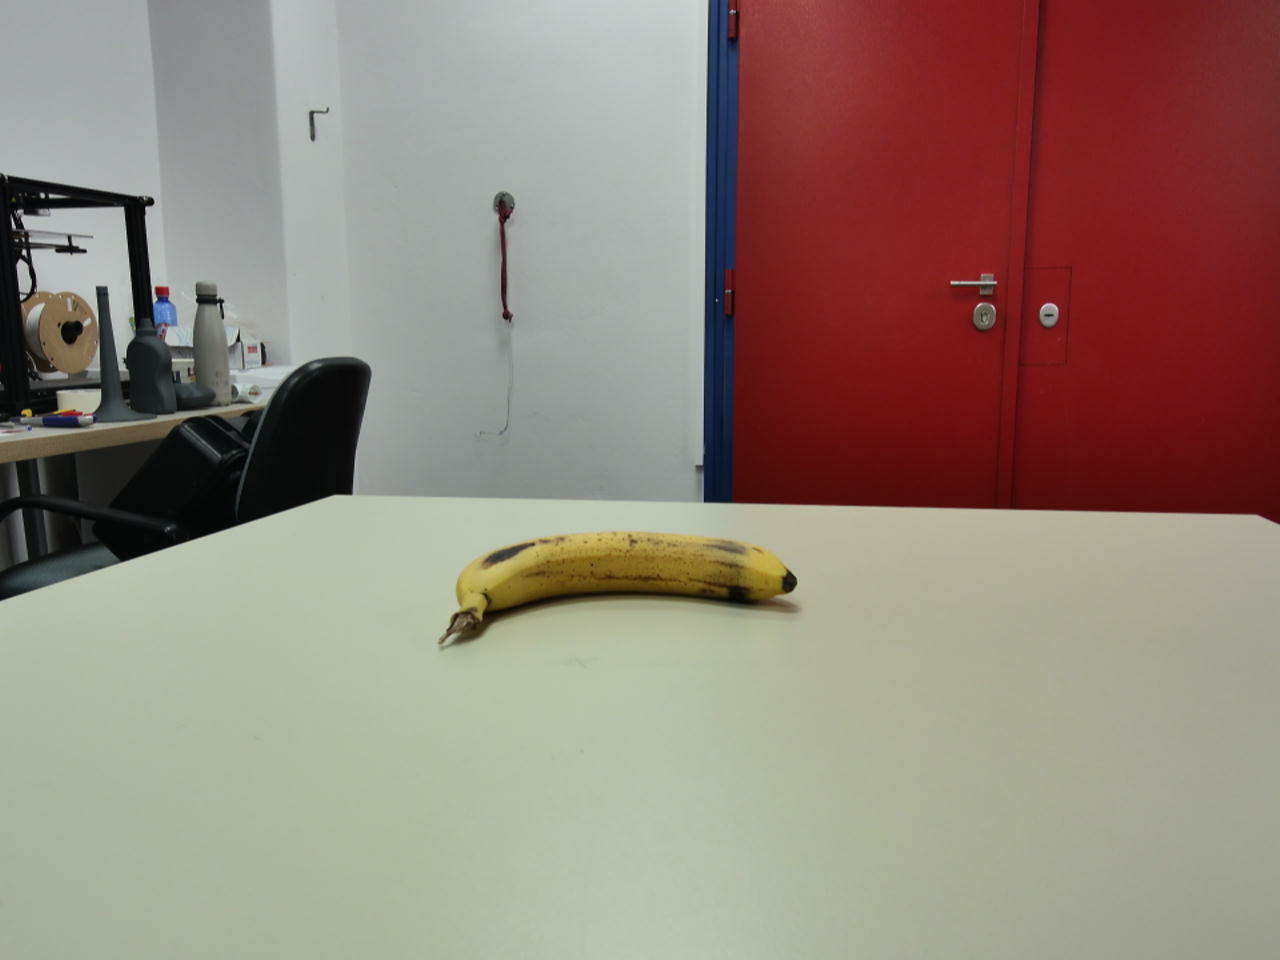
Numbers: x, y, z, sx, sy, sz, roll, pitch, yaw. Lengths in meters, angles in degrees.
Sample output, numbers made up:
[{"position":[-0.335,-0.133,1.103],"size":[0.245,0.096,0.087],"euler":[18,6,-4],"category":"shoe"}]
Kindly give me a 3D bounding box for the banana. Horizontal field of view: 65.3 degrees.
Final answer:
[{"position":[-0.017,0.053,0.553],"size":[0.186,0.038,0.097],"euler":[-2,6,-16],"category":"banana"}]
